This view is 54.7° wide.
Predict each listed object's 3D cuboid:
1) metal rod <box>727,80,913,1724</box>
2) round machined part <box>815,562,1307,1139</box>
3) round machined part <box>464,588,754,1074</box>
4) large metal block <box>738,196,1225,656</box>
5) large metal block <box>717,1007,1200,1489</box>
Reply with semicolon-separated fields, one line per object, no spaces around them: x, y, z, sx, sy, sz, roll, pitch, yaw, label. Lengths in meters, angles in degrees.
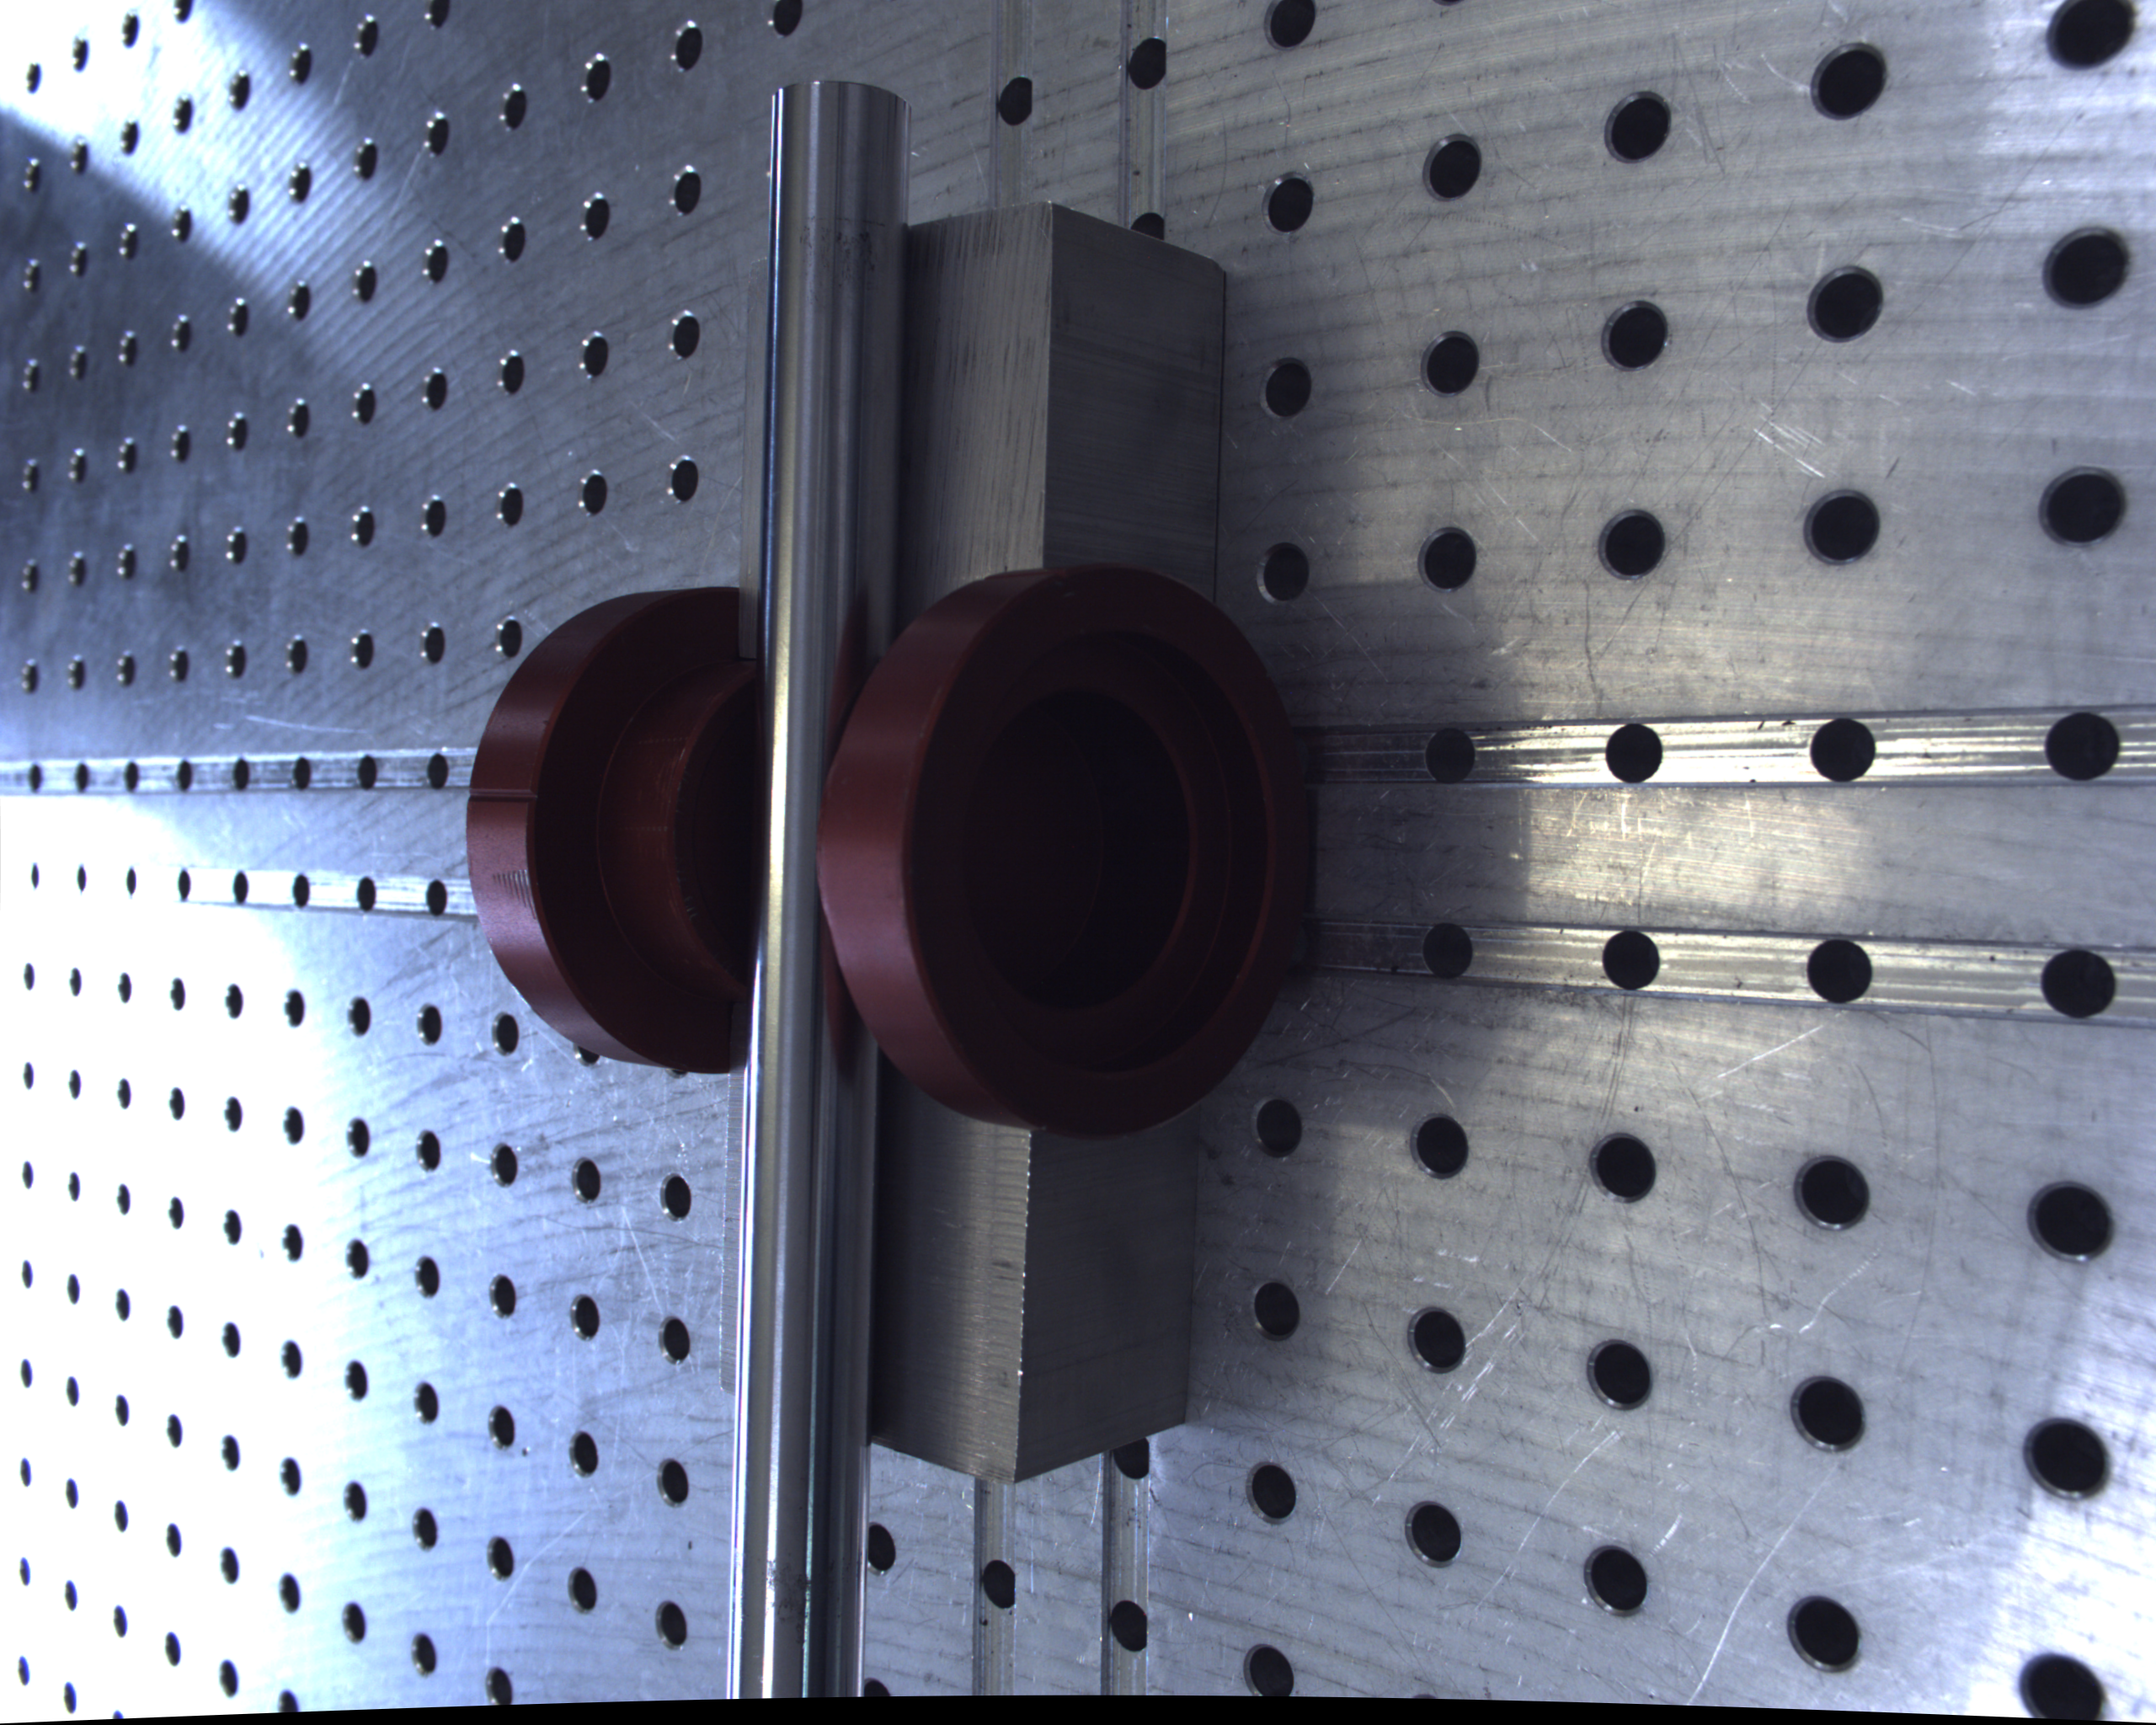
-0.048;0.011;0.383;0.025;0.025;0.298;3;92;40;metal rod
-0.007;-0.003;0.367;0.042;0.099;0.097;3;92;45;round machined part
-0.068;-0.006;0.417;0.042;0.099;0.097;3;92;40;round machined part
-0.020;-0.078;0.409;0.080;0.050;0.079;3;92;40;large metal block
-0.024;0.069;0.413;0.080;0.050;0.079;4;93;40;large metal block
